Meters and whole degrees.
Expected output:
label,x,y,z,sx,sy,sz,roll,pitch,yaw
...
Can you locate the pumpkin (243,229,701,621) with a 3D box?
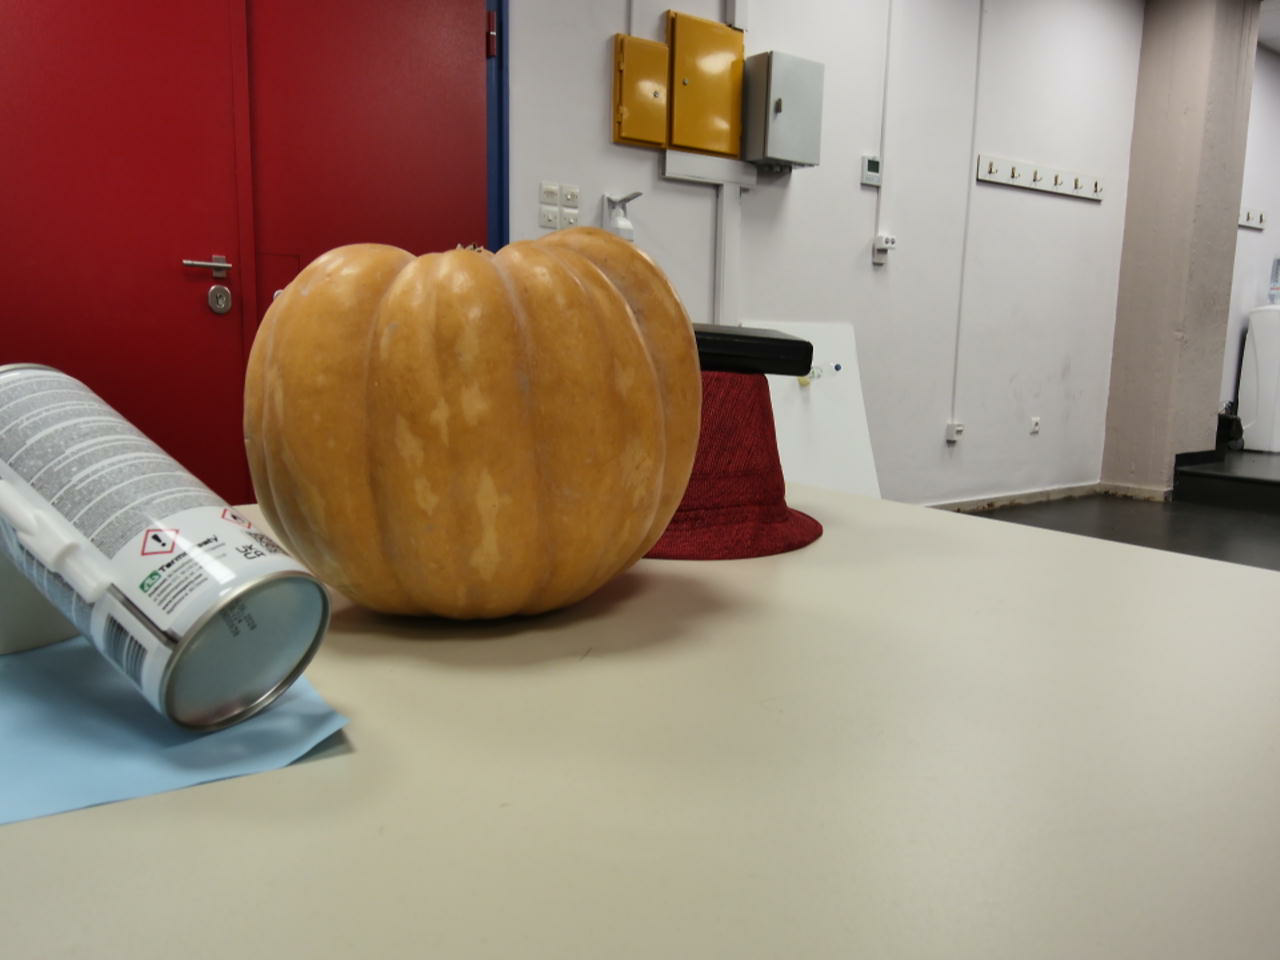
label,x,y,z,sx,sy,sz,roll,pitch,yaw
pumpkin,-0.080,-0.030,0.509,0.230,0.194,0.230,1,6,0
